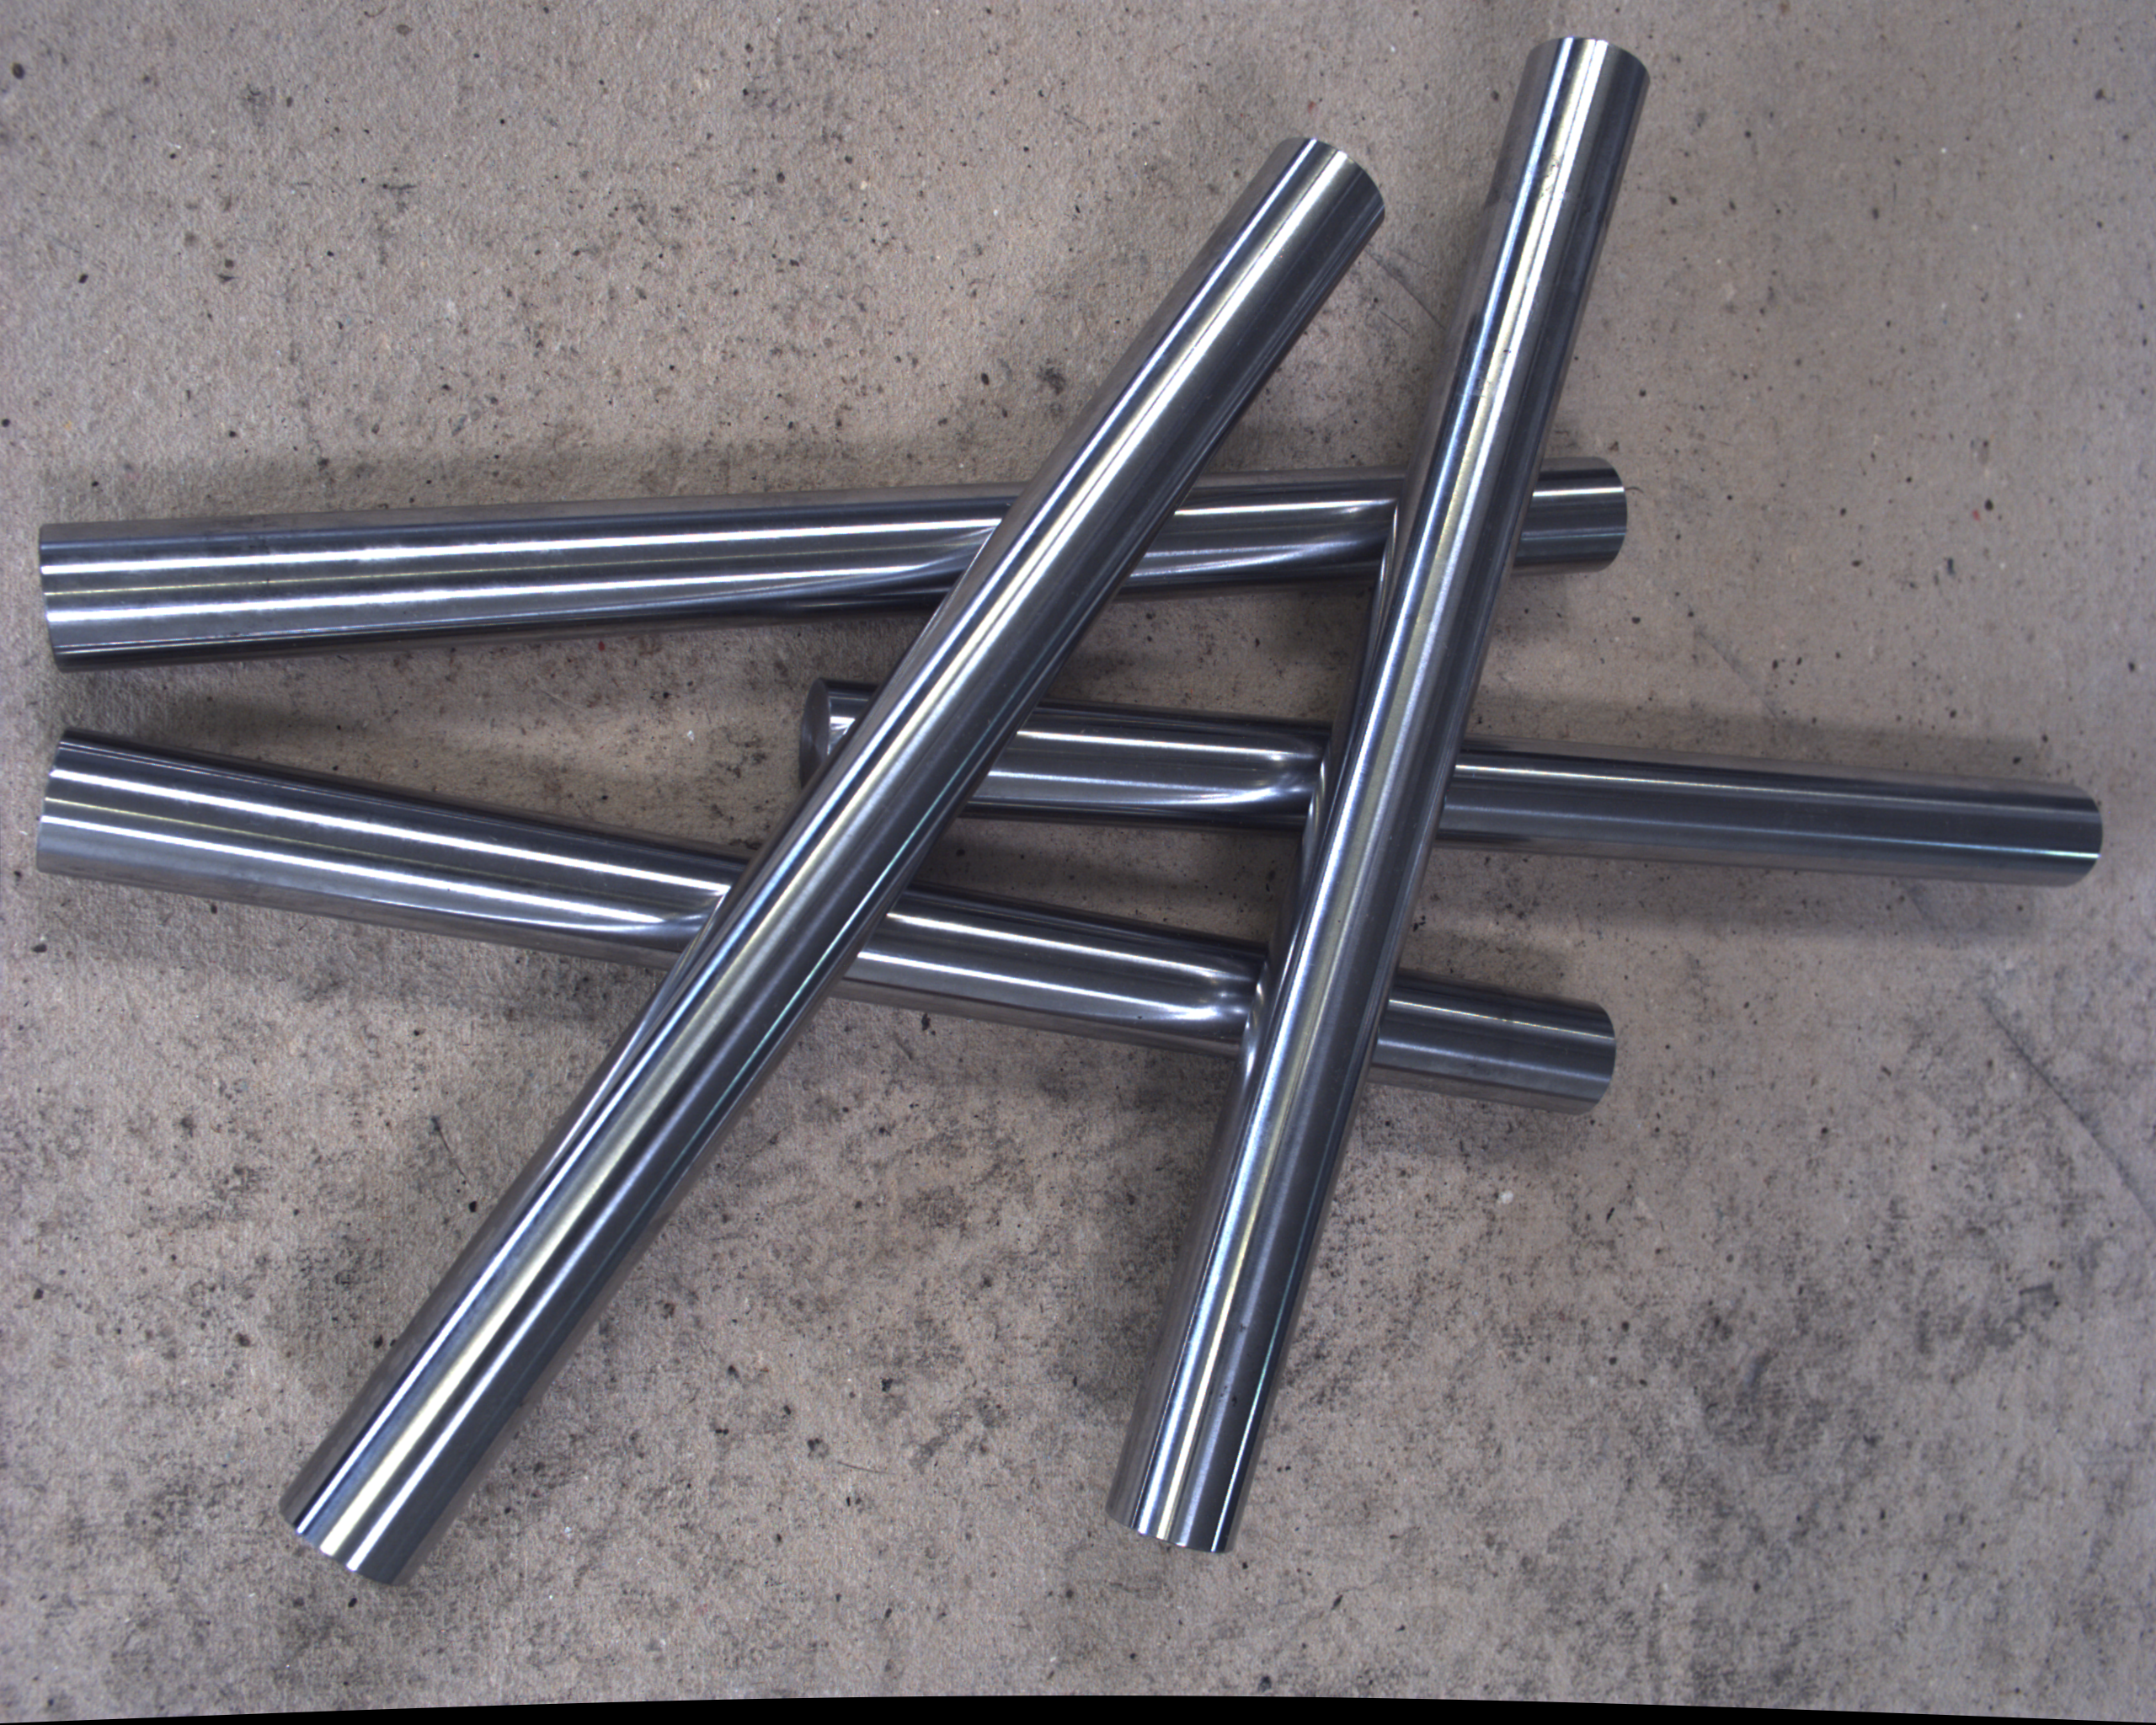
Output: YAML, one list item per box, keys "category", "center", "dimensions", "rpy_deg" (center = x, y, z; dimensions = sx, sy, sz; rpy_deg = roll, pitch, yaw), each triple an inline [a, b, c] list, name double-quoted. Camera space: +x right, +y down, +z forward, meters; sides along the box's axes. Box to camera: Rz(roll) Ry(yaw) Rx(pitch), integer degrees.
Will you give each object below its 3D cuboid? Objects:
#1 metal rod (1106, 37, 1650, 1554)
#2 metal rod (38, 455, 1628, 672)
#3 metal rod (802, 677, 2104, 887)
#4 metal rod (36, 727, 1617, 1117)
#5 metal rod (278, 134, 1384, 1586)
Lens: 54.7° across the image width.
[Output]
- category: "metal rod"
  center: [0.060, -0.018, 0.406]
  dimensions: [0.025, 0.025, 0.299]
  rpy_deg: [19, 84, -19]
- category: "metal rod"
  center: [-0.030, -0.060, 0.399]
  dimensions: [0.303, 0.025, 0.025]
  rpy_deg: [-6, 92, -20]
- category: "metal rod"
  center: [0.092, -0.014, 0.444]
  dimensions: [0.302, 0.025, 0.025]
  rpy_deg: [3, 89, -20]
- category: "metal rod"
  center: [-0.031, 0.016, 0.399]
  dimensions: [0.302, 0.025, 0.025]
  rpy_deg: [11, 87, -20]
- category: "metal rod"
  center: [-0.036, -0.010, 0.370]
  dimensions: [0.025, 0.025, 0.300]
  rpy_deg: [38, 78, -16]
